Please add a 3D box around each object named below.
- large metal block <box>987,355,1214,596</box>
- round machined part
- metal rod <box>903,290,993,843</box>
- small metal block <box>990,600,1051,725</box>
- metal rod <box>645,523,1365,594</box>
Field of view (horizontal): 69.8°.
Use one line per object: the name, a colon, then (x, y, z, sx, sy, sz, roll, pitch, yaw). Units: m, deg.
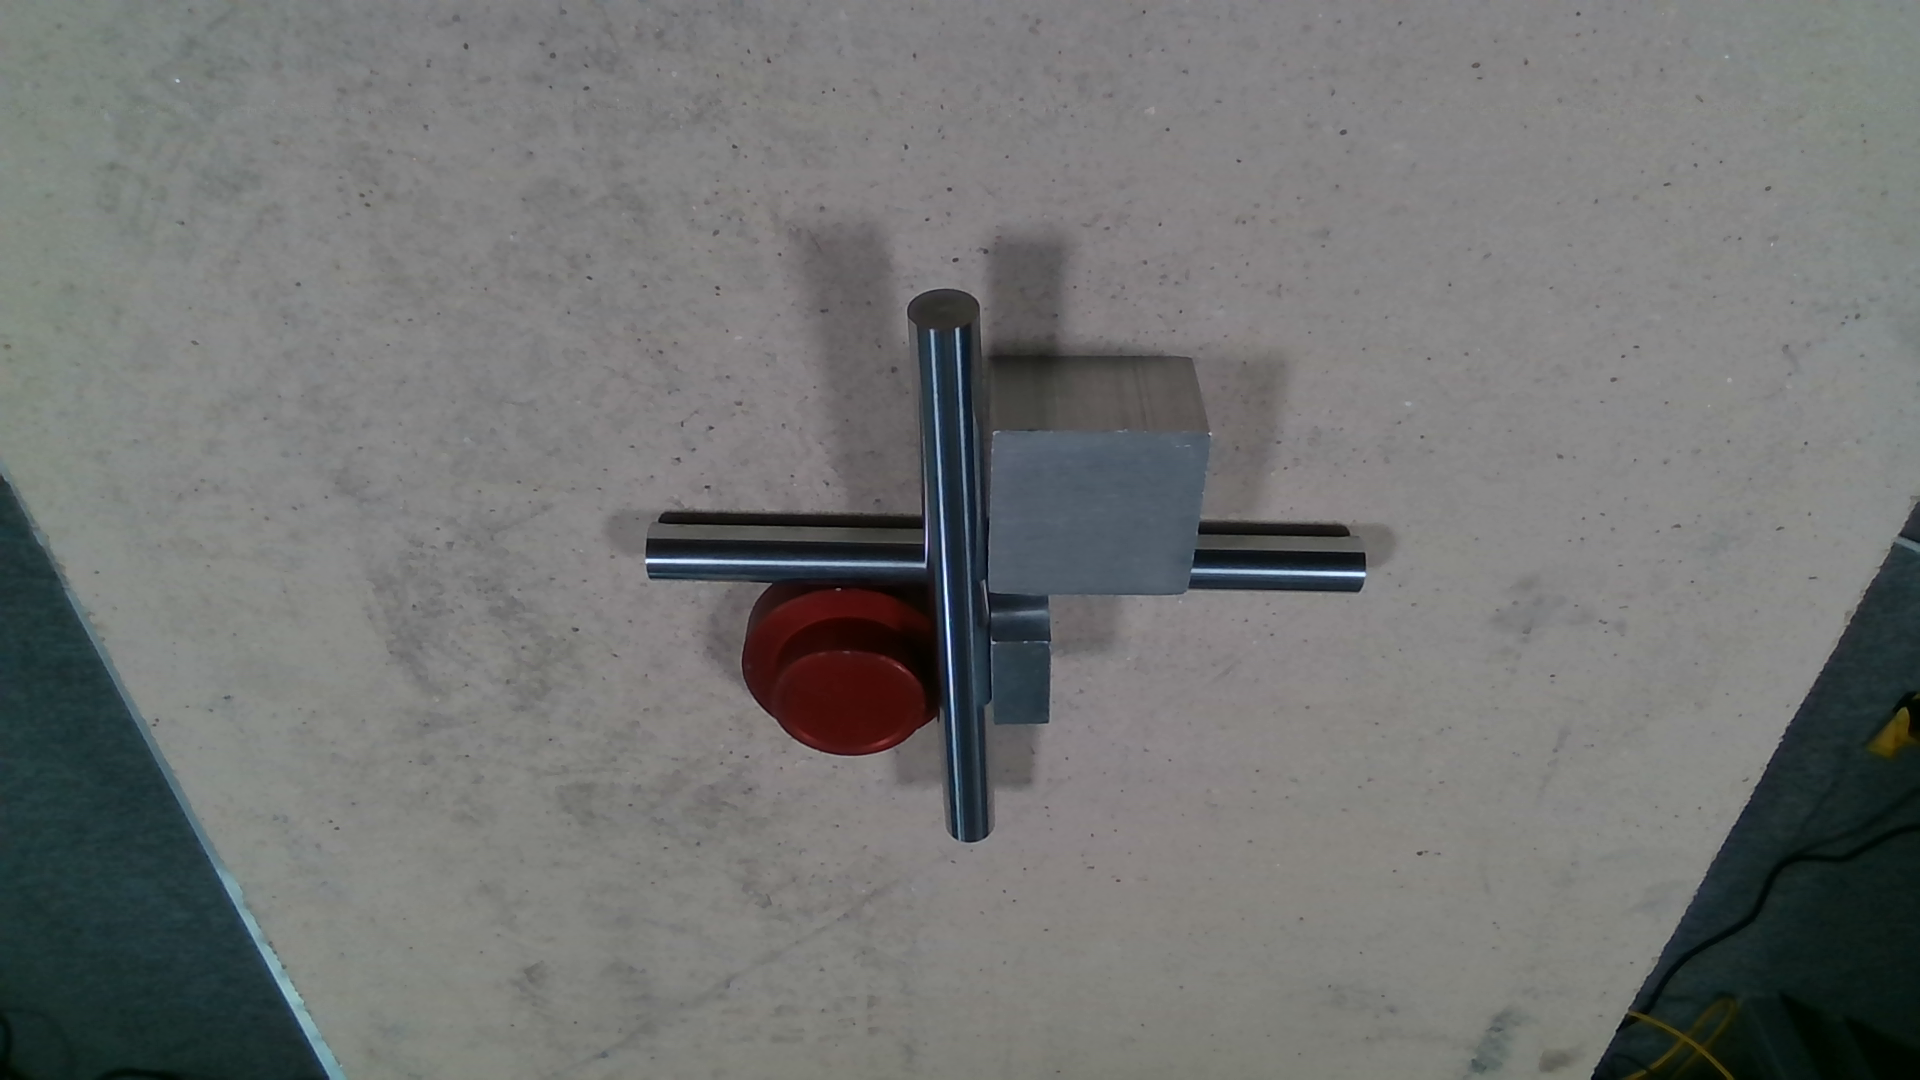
large metal block: (0.051, -0.025, 0.541, 0.080, 0.050, 0.080, 1, 130, 0)
round machined part: (-0.050, 0.059, 0.617, 0.098, 0.042, 0.098, 0, 130, 0)
metal rod: (-0.001, 0.030, 0.572, 0.025, 0.025, 0.301, -2, 134, 1)
small metal block: (0.026, 0.045, 0.601, 0.025, 0.050, 0.050, -1, 130, 1)
metal rod: (0.019, 0.008, 0.586, 0.300, 0.025, 0.025, 1, 130, -1)
